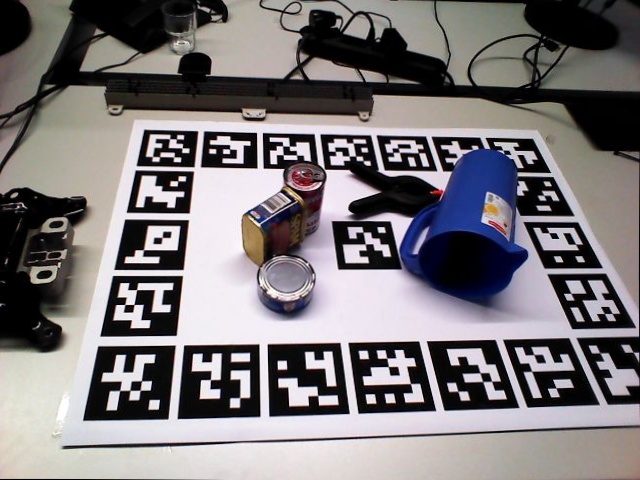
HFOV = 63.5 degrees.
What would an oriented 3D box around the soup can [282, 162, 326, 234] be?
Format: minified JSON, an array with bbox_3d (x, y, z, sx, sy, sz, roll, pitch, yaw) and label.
[{"bbox_3d":[-0.026,-0.065,0.831,0.068,0.102,0.067,1,52,-2],"label":"soup can"}]

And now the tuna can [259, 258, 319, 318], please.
[{"bbox_3d":[-0.046,0.071,0.759,0.086,0.034,0.085,3,52,-4],"label":"tuna can"}]

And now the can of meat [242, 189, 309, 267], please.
[{"bbox_3d":[-0.067,-0.015,0.779,0.083,0.102,0.058,-33,62,-24],"label":"can of meat"}]

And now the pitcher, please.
[{"bbox_3d":[0.247,-0.038,0.811,0.190,0.133,0.240,1,39,24],"label":"pitcher"}]

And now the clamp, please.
[{"bbox_3d":[0.122,-0.083,0.916,0.165,0.037,0.121,3,46,-8],"label":"clamp"}]
